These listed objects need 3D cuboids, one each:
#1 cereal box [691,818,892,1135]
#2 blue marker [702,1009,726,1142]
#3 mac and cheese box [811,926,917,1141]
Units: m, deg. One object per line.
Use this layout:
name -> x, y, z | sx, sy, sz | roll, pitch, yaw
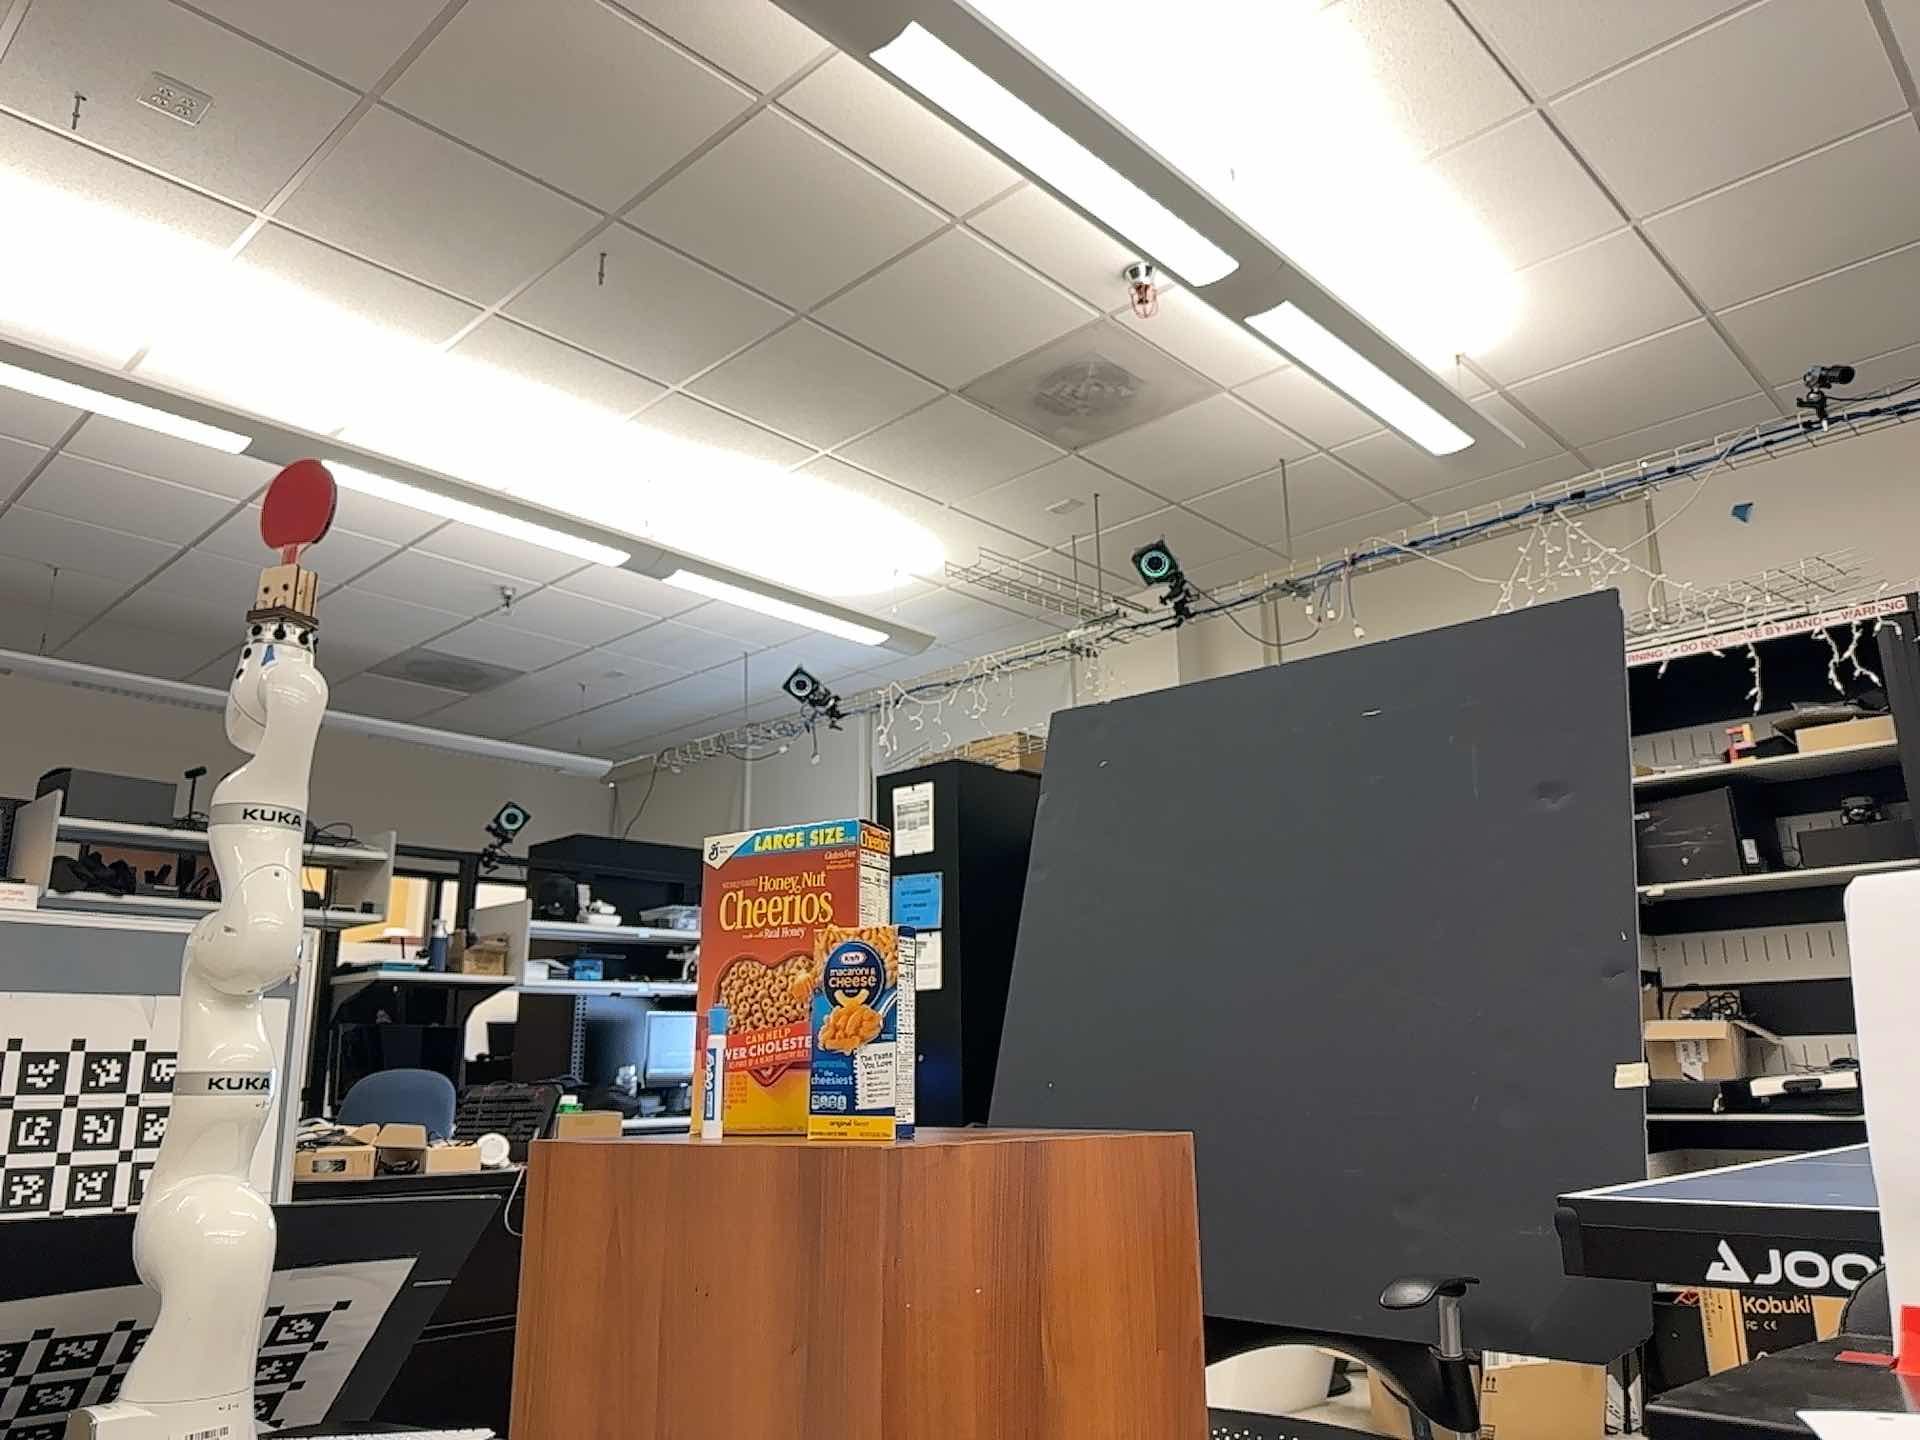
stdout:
cereal box -> -0.173, 0.263, 1.378 | 0.195, 0.297, 0.065 | -9, -17, 30
blue marker -> -0.233, 0.335, 1.277 | 0.020, 0.121, 0.020 | -2, -14, 0
mac and cheese box -> -0.086, 0.281, 1.211 | 0.088, 0.181, 0.035 | -12, -19, 36
